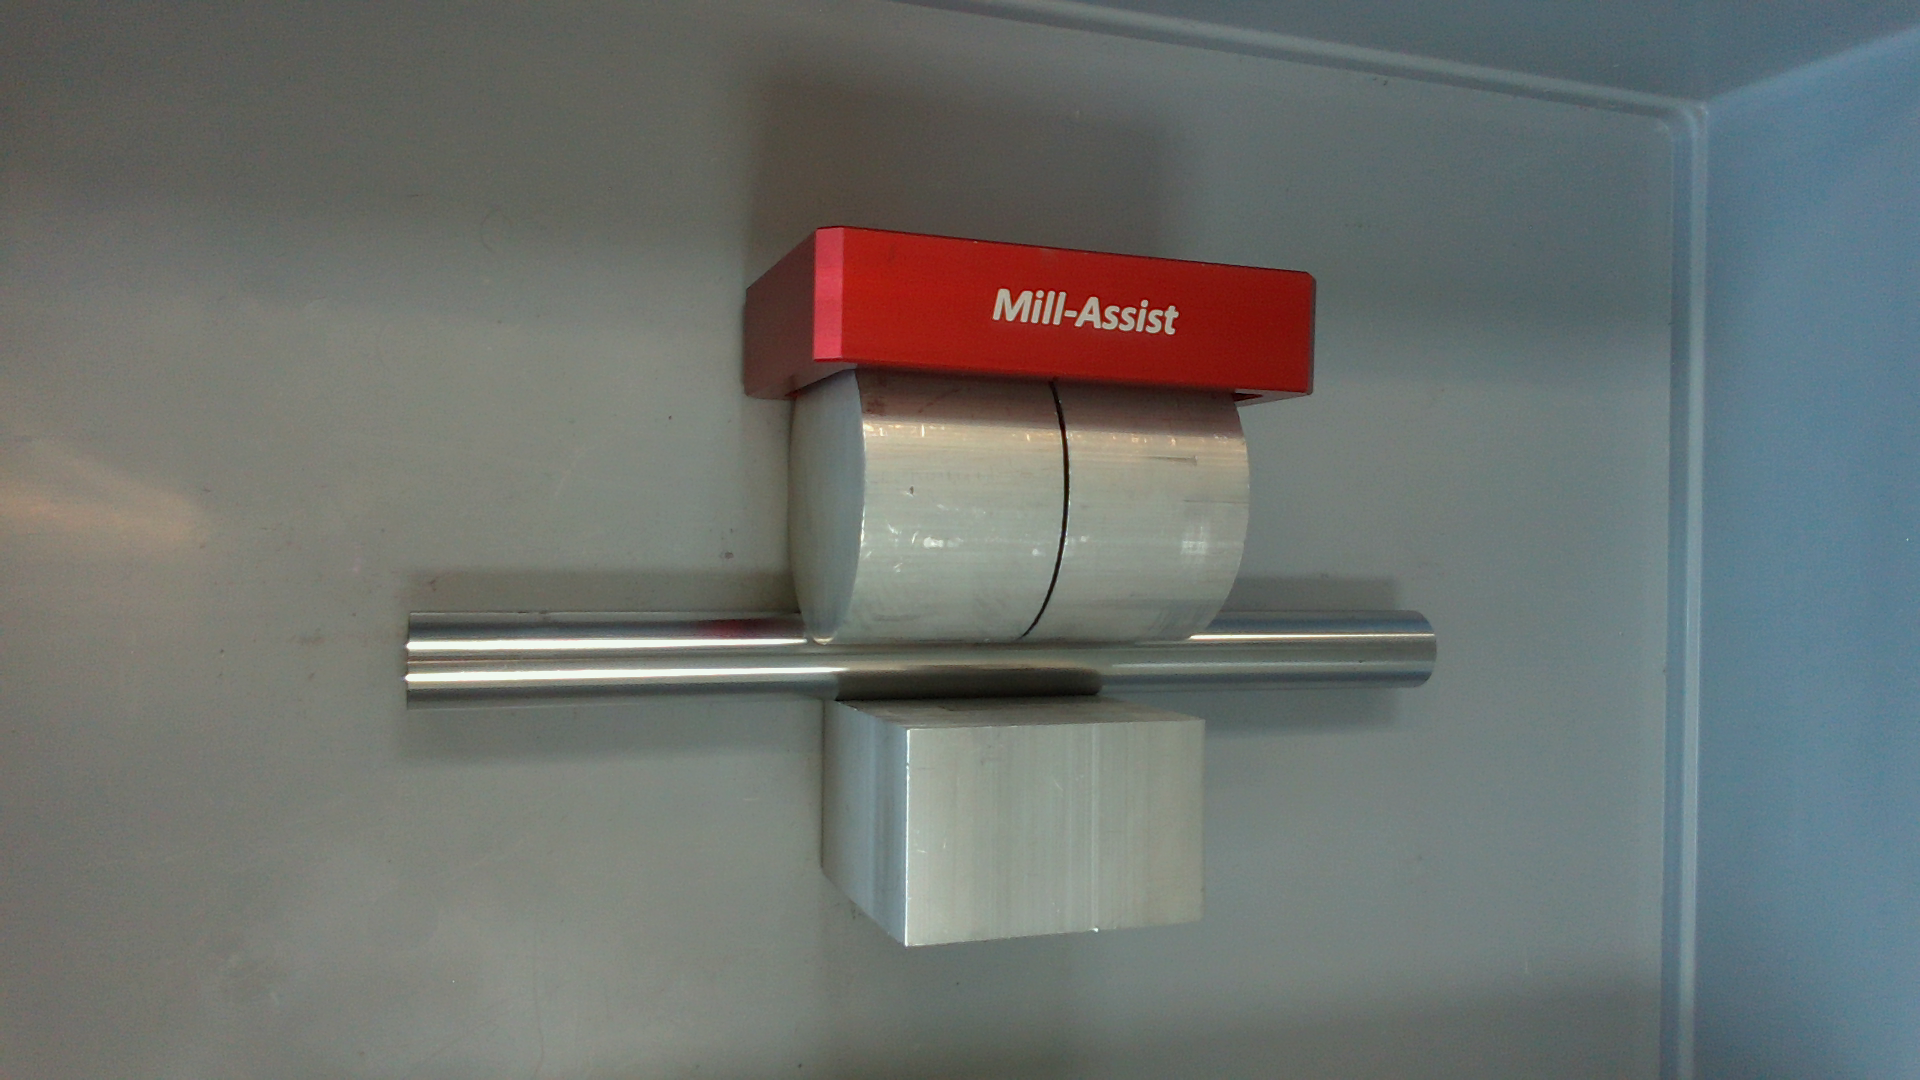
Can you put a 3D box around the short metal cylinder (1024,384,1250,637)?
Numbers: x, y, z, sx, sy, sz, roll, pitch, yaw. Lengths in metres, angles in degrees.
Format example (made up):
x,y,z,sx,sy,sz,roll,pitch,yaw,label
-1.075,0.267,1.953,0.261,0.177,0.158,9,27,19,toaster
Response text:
x,y,z,sx,sy,sz,roll,pitch,yaw,label
0.036,-0.013,0.377,0.050,0.080,0.080,2,90,-20,short metal cylinder

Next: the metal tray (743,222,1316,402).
x,y,z,sx,sy,sz,roll,pitch,yaw,label
0.015,-0.053,0.363,0.130,0.090,0.030,1,90,-20,metal tray

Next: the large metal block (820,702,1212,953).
x,y,z,sx,sy,sz,roll,pitch,yaw,label
0.012,0.070,0.367,0.080,0.080,0.050,1,90,-20,large metal block

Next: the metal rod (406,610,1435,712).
x,y,z,sx,sy,sz,roll,pitch,yaw,label
0.004,0.033,0.393,0.301,0.025,0.025,1,90,-20,metal rod

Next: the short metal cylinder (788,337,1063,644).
x,y,z,sx,sy,sz,roll,pitch,yaw,label
-0.012,-0.013,0.360,0.050,0.080,0.080,1,90,-20,short metal cylinder
